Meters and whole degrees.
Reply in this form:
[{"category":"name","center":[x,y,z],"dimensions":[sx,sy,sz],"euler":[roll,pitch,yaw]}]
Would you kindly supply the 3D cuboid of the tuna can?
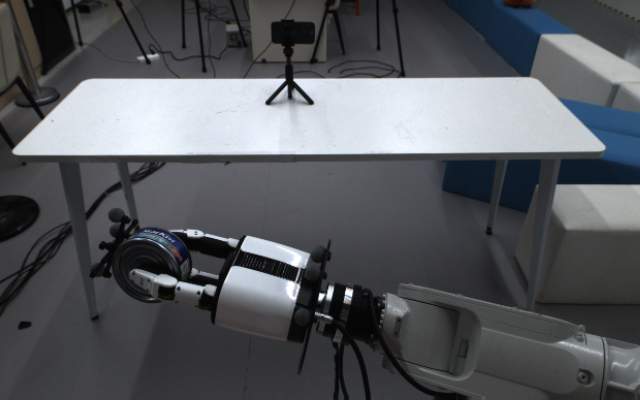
[{"category":"tuna can","center":[-0.194,0.076,0.566],"dimensions":[0.085,0.085,0.034],"euler":[6,20,6]}]
